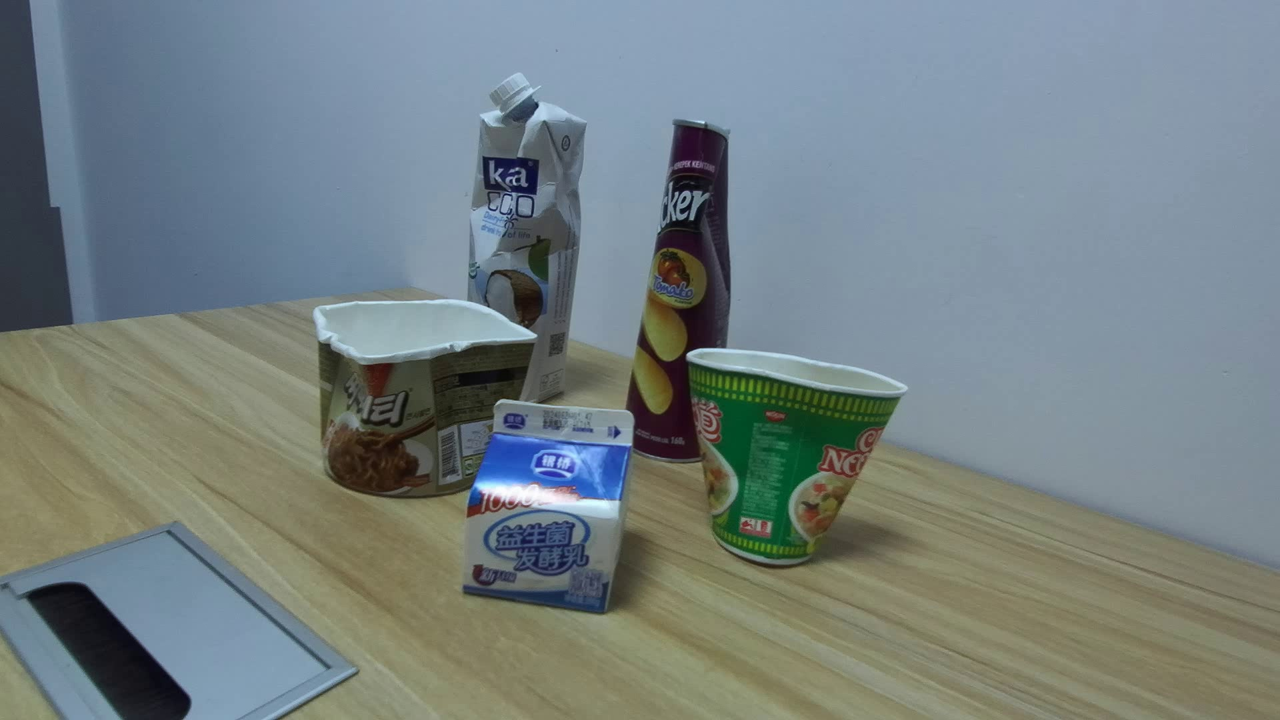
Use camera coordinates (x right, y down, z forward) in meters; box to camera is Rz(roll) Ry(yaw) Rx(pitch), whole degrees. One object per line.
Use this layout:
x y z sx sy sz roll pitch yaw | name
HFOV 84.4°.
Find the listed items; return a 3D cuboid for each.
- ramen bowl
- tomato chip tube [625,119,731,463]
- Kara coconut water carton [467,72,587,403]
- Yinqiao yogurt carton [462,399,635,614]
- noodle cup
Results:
-0.153 0.017 0.463 0.133 0.097 0.114 21 24 35 | ramen bowl
0.037 -0.048 0.510 0.078 0.235 0.076 -3 19 -33 | tomato chip tube
-0.096 -0.094 0.571 0.083 0.255 0.079 22 25 36 | Kara coconut water carton
-0.043 0.065 0.360 0.075 0.092 0.074 7 17 2 | Yinqiao yogurt carton
0.080 0.053 0.407 0.114 0.111 0.070 18 23 29 | noodle cup
